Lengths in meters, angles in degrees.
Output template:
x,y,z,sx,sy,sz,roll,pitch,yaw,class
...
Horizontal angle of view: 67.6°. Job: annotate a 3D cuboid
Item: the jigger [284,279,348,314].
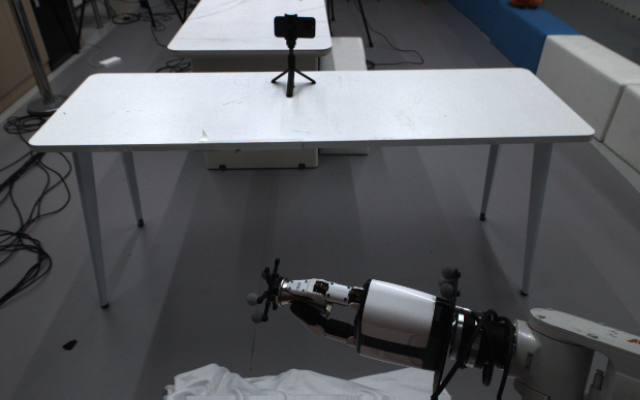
x,y,z,sx,sy,sz,roll,pitch,yaw,class
-0.012,0.125,0.652,0.071,0.043,0.043,8,35,14,jigger
